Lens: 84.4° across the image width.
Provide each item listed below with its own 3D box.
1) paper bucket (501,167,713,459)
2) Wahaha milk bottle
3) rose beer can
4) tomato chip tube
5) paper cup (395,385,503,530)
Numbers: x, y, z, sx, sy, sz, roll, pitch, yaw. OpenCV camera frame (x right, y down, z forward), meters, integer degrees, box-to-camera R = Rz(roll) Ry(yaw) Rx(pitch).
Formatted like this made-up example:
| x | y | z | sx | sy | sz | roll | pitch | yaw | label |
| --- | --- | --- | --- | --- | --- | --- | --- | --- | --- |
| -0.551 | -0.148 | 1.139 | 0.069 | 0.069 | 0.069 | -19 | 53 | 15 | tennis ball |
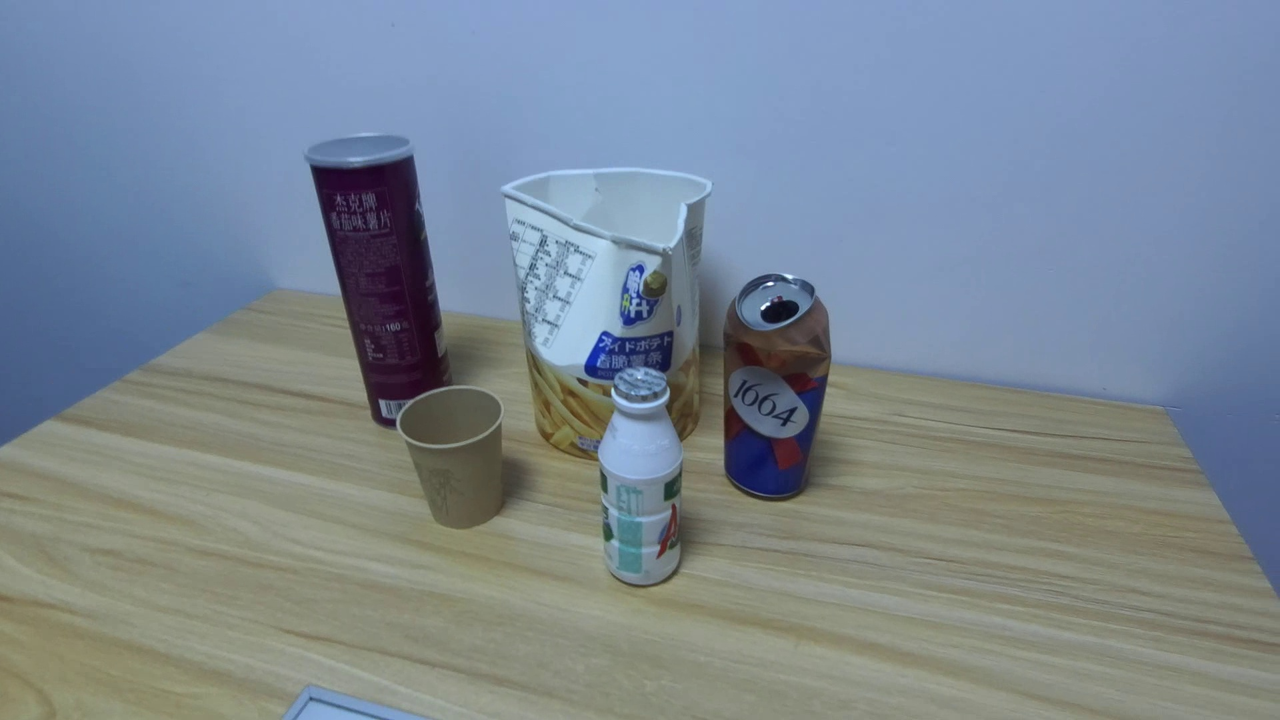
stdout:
| x | y | z | sx | sy | sz | roll | pitch | yaw | label |
| --- | --- | --- | --- | --- | --- | --- | --- | --- | --- |
| -0.031 | -0.040 | 0.588 | 0.162 | 0.202 | 0.169 | 6 | 30 | 14 | paper bucket |
| 0.001 | 0.074 | 0.443 | 0.053 | 0.147 | 0.053 | -1 | 31 | 1 | Wahaha milk bottle |
| 0.097 | 0.022 | 0.512 | 0.069 | 0.168 | 0.070 | -2 | 34 | 3 | rose beer can |
| -0.208 | -0.059 | 0.588 | 0.078 | 0.234 | 0.078 | 0 | 31 | 0 | tomato chip tube |
| -0.131 | 0.074 | 0.515 | 0.075 | 0.082 | 0.075 | -1 | 30 | 1 | paper cup |
